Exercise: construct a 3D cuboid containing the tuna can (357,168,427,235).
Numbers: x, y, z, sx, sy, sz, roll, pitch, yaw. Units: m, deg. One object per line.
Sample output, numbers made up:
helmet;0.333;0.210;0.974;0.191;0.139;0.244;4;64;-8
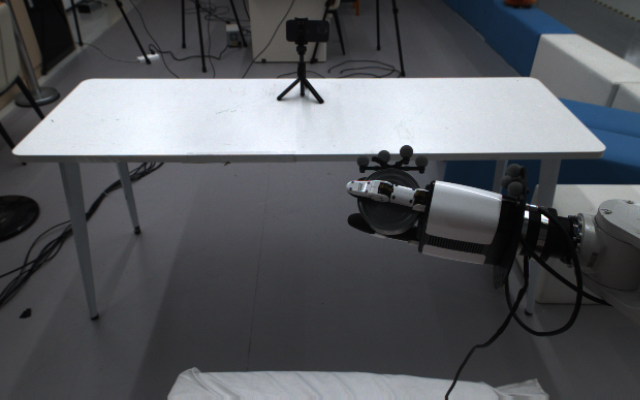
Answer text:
tuna can;0.094;0.000;0.646;0.085;0.034;0.085;-4;70;11
